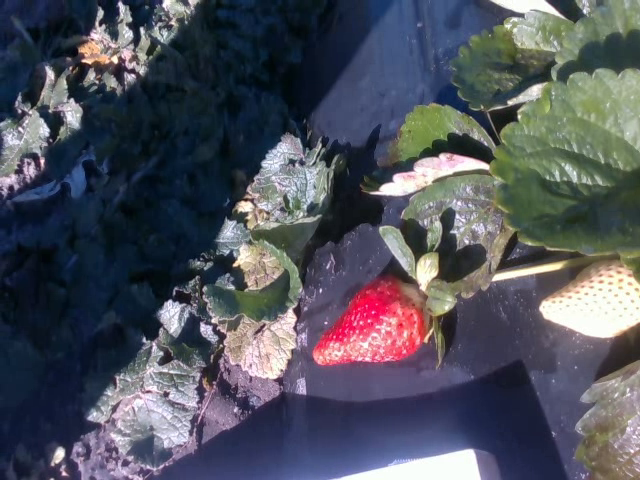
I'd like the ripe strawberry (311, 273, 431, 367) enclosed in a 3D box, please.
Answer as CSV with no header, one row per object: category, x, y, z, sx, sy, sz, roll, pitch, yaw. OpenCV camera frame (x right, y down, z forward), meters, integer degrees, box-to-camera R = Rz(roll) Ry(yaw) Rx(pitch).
ripe strawberry,0.022,0.042,0.281,0.068,0.048,0.040,-37,-42,15
